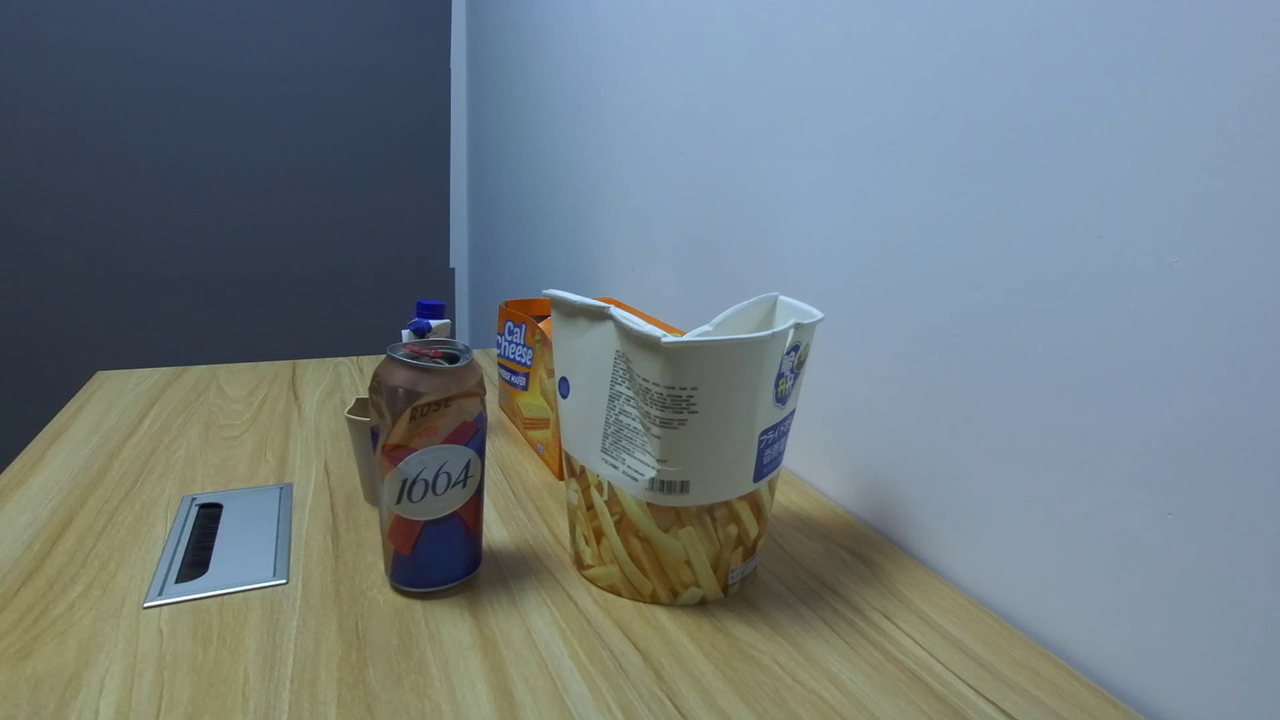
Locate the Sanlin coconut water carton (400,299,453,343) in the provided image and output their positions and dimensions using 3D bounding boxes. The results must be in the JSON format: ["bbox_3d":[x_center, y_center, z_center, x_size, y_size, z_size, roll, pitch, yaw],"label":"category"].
[{"bbox_3d":[-0.217,0.012,0.723,0.056,0.145,0.069,5,25,38],"label":"Sanlin coconut water carton"}]

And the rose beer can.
[{"bbox_3d":[-0.141,0.074,0.478,0.076,0.167,0.065,-5,20,-35],"label":"rose beer can"}]

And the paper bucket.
[{"bbox_3d":[0.033,0.051,0.525,0.163,0.202,0.168,-6,21,-34],"label":"paper bucket"}]
